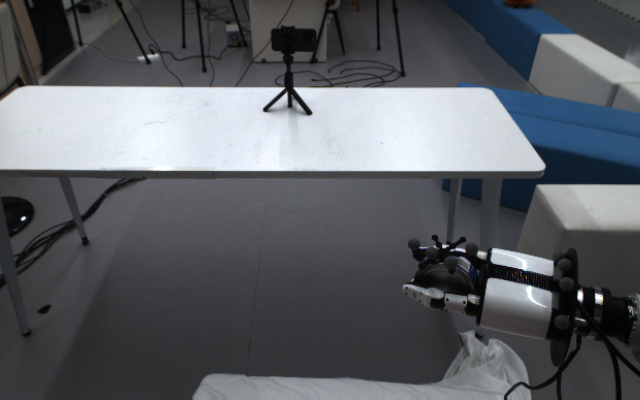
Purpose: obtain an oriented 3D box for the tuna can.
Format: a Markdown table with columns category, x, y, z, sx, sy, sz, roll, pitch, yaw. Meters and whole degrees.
| category | x | y | z | sx | sy | sz | roll | pitch | yaw |
| --- | --- | --- | --- | --- | --- | --- | --- | --- | --- |
| tuna can | 0.182 | 0.112 | 0.691 | 0.085 | 0.085 | 0.034 | 17 | 37 | 20 |
